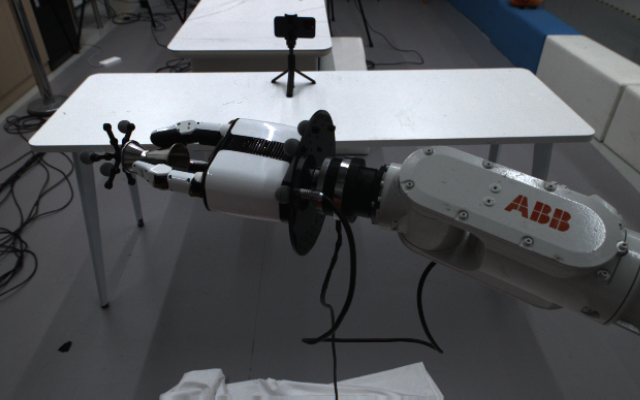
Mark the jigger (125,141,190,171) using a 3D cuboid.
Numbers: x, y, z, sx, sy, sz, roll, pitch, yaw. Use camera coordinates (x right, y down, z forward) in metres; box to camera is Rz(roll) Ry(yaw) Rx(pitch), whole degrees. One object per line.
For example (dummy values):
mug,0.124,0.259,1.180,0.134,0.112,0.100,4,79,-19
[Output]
jigger,-0.192,-0.055,0.581,0.071,0.043,0.043,5,34,18
